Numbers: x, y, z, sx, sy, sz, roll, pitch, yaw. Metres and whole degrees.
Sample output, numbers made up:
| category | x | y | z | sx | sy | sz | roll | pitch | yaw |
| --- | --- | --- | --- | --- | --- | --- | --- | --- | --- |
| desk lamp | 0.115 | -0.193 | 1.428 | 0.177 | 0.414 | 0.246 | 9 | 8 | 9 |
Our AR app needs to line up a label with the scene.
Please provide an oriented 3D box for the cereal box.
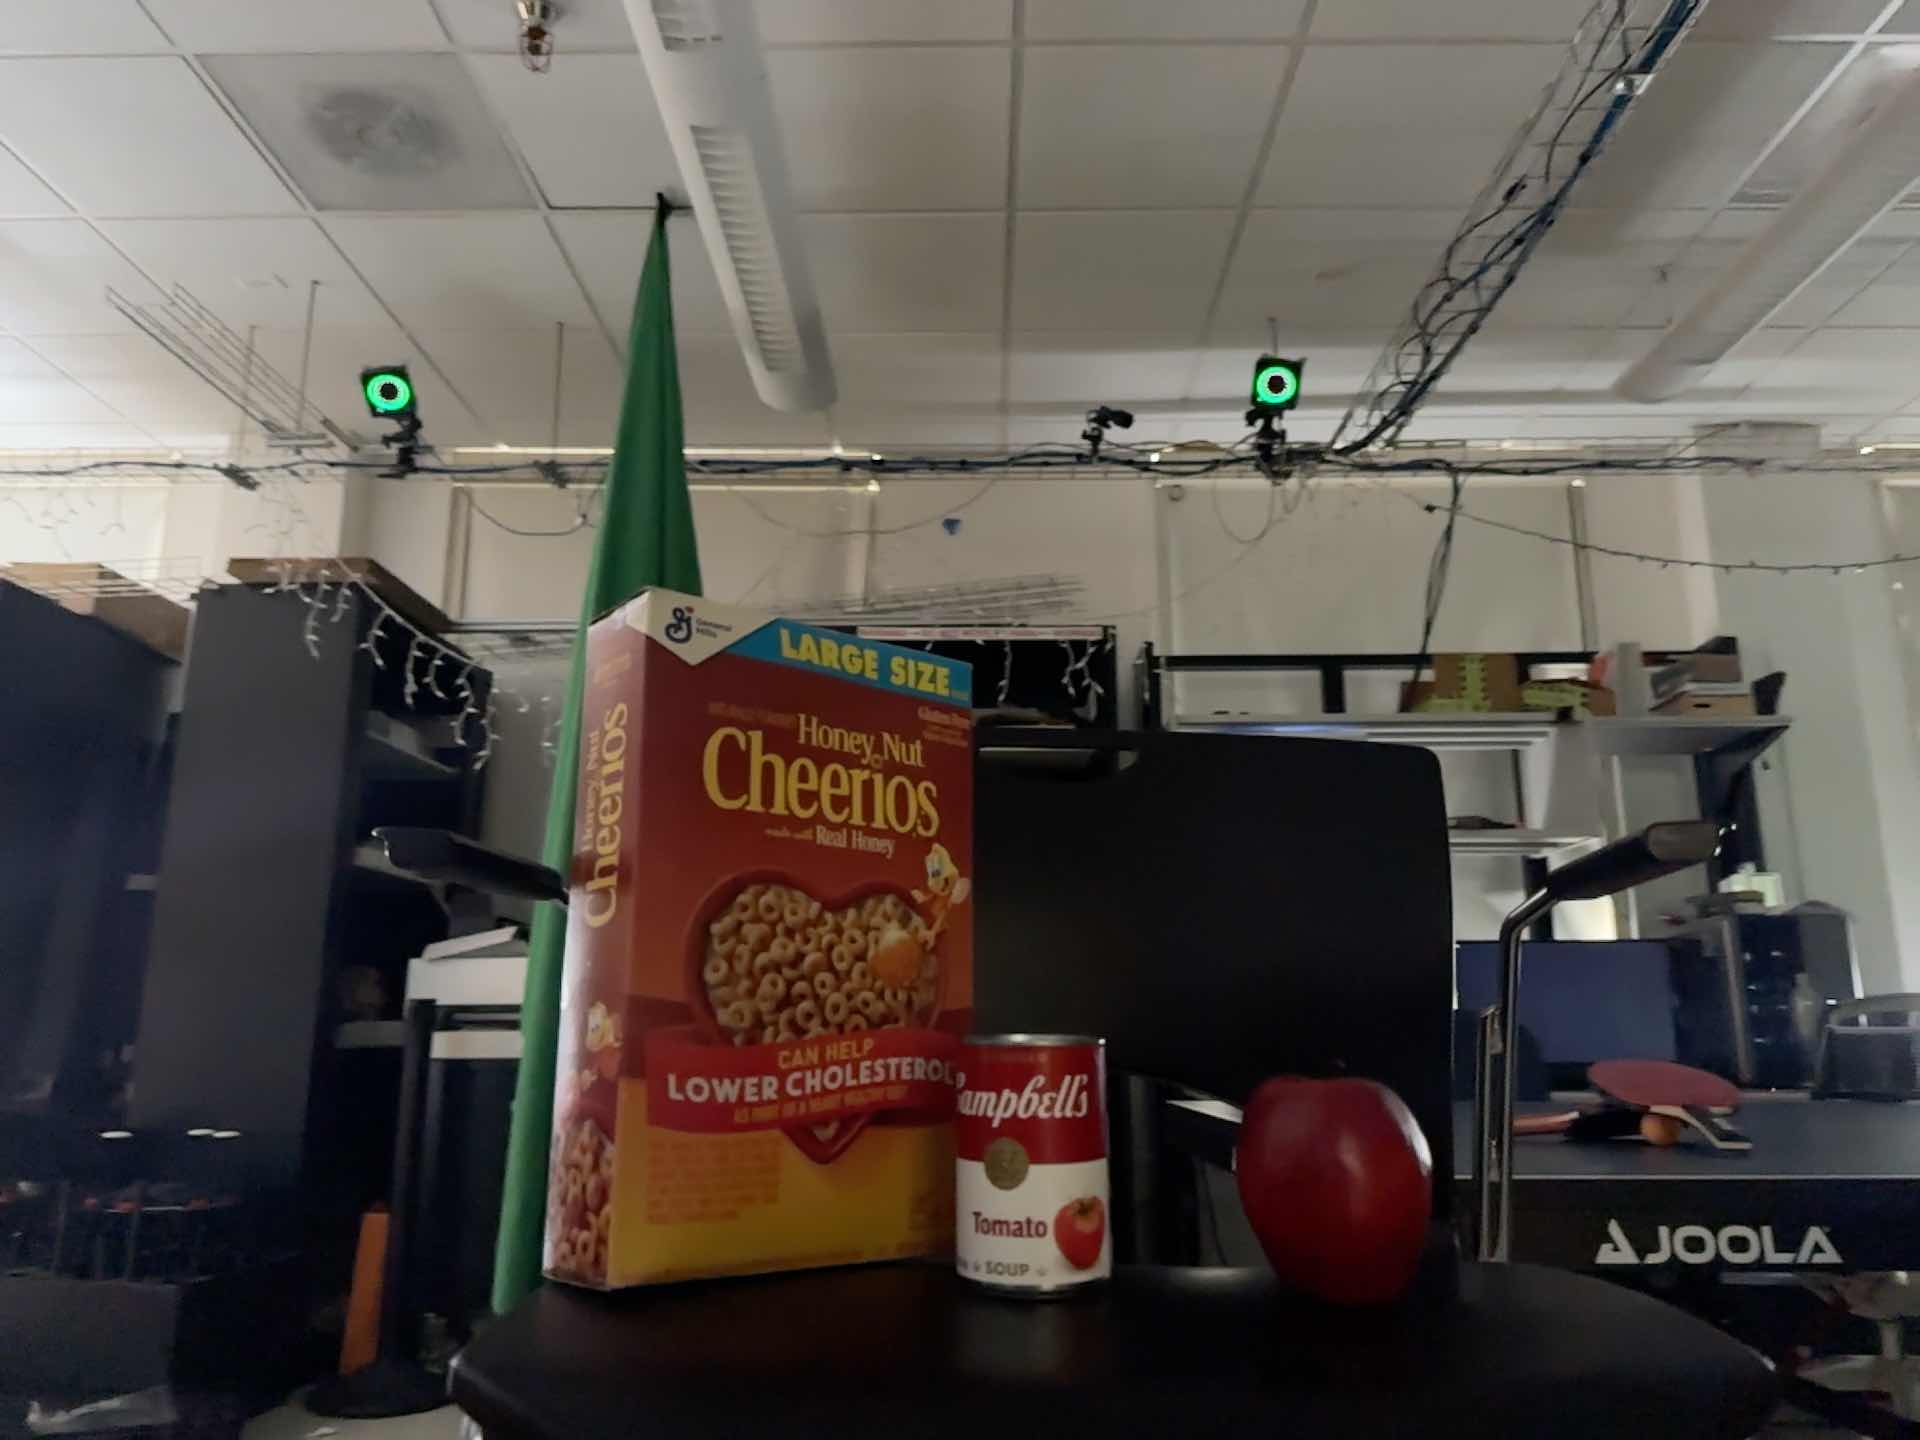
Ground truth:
| category | x | y | z | sx | sy | sz | roll | pitch | yaw |
| --- | --- | --- | --- | --- | --- | --- | --- | --- | --- |
| cereal box | -0.091 | 0.104 | 0.666 | 0.195 | 0.297 | 0.065 | 11 | -16 | -38 |

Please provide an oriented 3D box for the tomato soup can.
| category | x | y | z | sx | sy | sz | roll | pitch | yaw |
| --- | --- | --- | --- | --- | --- | --- | --- | --- | --- |
| tomato soup can | 0.032 | 0.191 | 0.594 | 0.067 | 0.102 | 0.067 | 1 | -10 | 0 |

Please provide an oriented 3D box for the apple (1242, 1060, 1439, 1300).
| category | x | y | z | sx | sy | sz | roll | pitch | yaw |
| --- | --- | --- | --- | --- | --- | --- | --- | --- | --- |
| apple | 0.157 | 0.188 | 0.558 | 0.079 | 0.093 | 0.079 | -1 | -6 | 0 |
